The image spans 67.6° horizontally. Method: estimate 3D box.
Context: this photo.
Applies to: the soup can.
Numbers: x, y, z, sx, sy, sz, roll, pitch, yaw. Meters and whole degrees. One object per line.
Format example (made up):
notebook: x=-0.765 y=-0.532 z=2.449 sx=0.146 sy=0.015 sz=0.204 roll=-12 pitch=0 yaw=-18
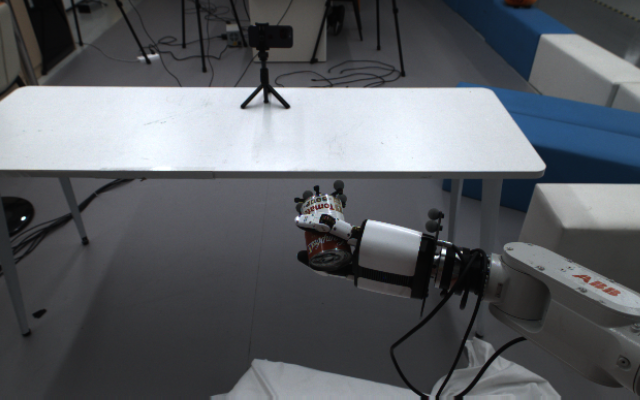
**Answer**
soup can: x=0.012 y=0.049 z=0.746 sx=0.067 sy=0.067 sz=0.101 roll=-5 pitch=57 yaw=-11
